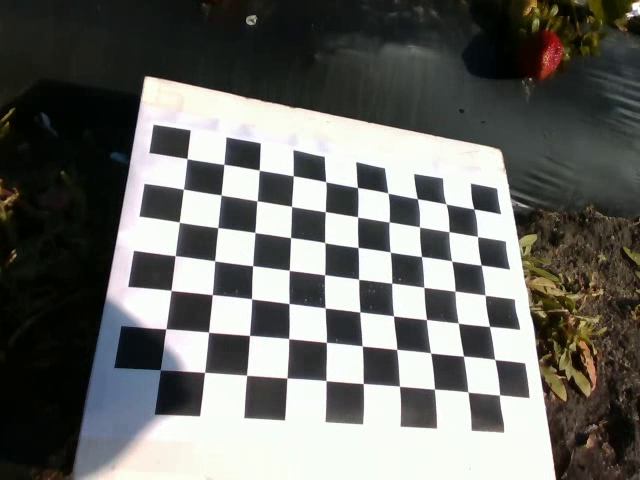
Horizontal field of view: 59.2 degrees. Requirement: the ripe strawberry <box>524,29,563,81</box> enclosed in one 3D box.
[{"bbox_3d":[0.179,-0.151,0.468,0.042,0.059,0.042,30,-43,-7],"label":"ripe strawberry"}]
